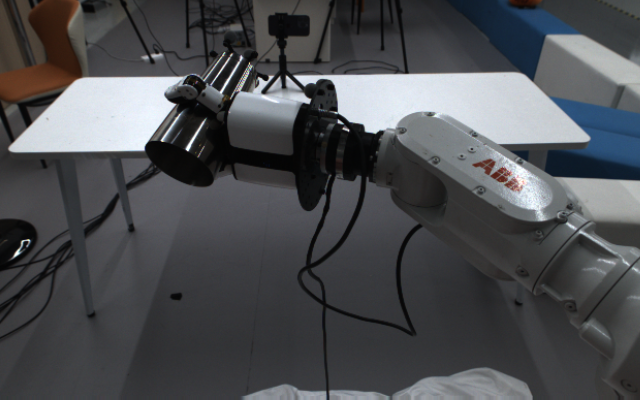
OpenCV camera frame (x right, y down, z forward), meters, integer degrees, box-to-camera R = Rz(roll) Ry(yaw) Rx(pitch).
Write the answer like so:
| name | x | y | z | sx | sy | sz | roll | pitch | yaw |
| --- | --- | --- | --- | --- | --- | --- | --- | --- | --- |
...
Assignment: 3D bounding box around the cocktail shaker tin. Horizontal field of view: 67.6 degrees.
| name | x | y | z | sx | sy | sz | roll | pitch | yaw |
| --- | --- | --- | --- | --- | --- | --- | --- | --- | --- |
| cocktail shaker tin | -0.145 | -0.111 | 0.631 | 0.093 | 0.093 | 0.170 | 14 | 61 | 17 |
